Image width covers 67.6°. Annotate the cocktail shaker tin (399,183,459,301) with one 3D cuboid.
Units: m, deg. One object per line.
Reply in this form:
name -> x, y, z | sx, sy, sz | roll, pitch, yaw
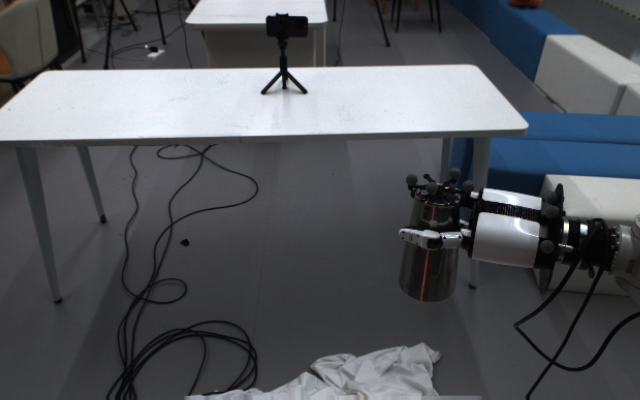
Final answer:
cocktail shaker tin -> 0.178, 0.059, 0.754 | 0.093, 0.170, 0.093 | -1, 32, 1
